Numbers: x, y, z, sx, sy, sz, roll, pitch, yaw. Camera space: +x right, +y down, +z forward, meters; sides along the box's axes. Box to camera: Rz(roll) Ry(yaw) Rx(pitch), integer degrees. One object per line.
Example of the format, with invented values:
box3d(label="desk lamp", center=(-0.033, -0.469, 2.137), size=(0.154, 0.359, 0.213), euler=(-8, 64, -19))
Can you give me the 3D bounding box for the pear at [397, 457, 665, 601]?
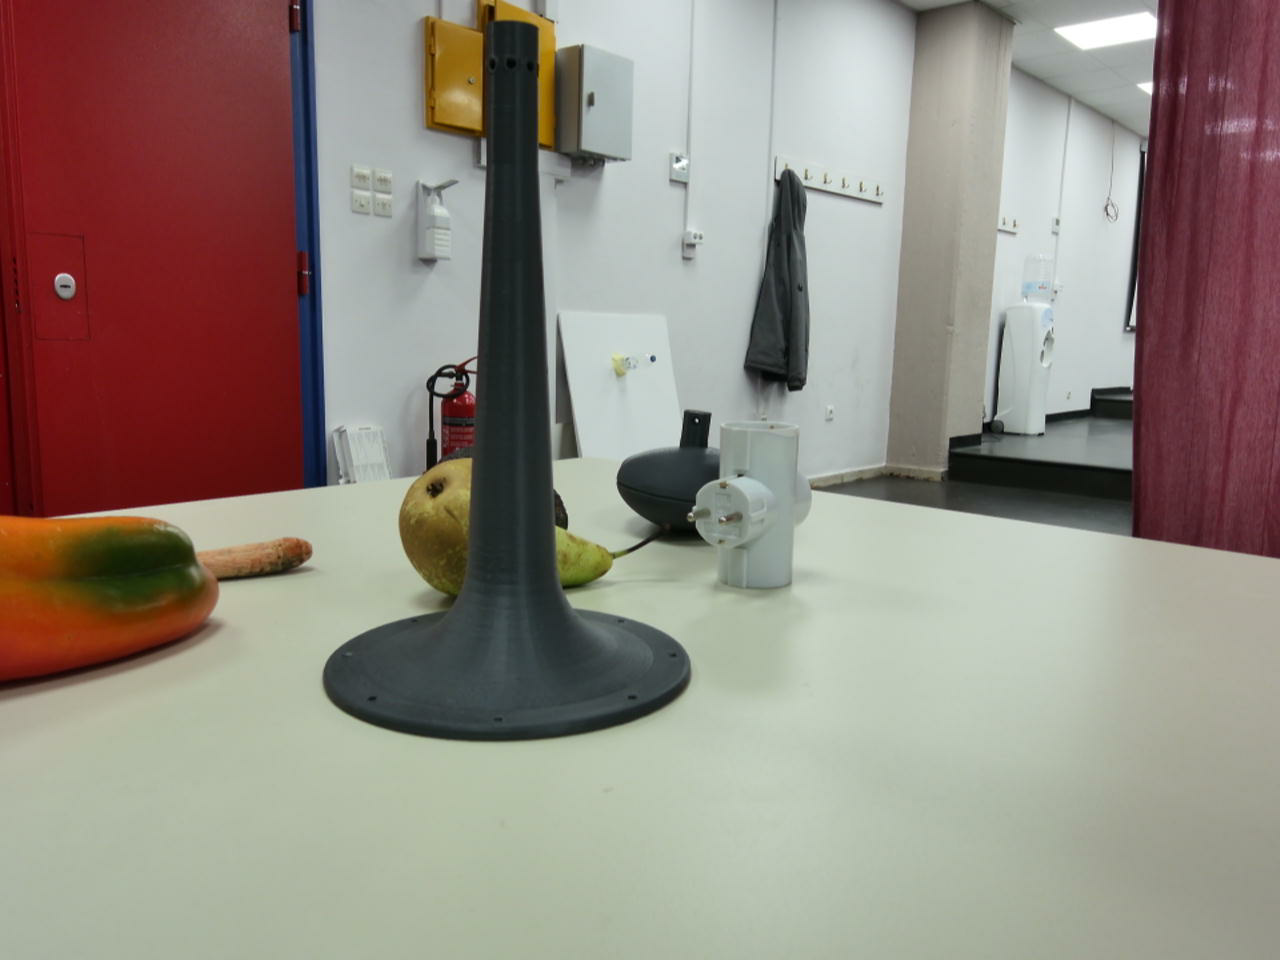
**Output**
box3d(label="pear", center=(-0.062, 0.023, 0.548), size=(0.144, 0.075, 0.072), euler=(-6, 9, -41))
